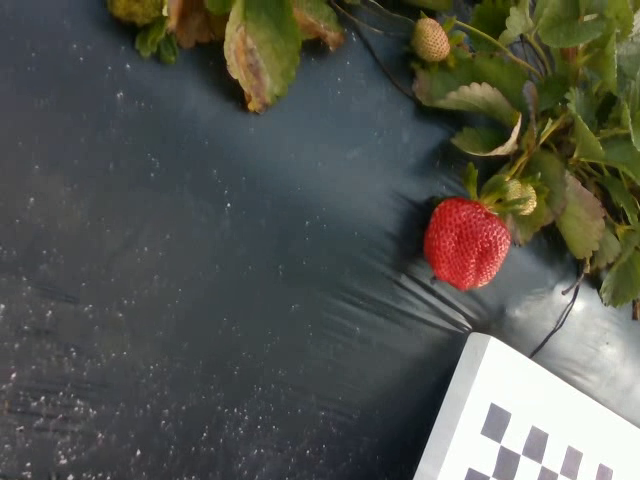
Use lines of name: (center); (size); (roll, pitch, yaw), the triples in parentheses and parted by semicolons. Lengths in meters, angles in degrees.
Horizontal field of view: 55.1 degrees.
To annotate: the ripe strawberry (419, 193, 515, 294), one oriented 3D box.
ripe strawberry: (0.102, 0.003, 0.432); (0.067, 0.075, 0.039); (34, -18, -22)
